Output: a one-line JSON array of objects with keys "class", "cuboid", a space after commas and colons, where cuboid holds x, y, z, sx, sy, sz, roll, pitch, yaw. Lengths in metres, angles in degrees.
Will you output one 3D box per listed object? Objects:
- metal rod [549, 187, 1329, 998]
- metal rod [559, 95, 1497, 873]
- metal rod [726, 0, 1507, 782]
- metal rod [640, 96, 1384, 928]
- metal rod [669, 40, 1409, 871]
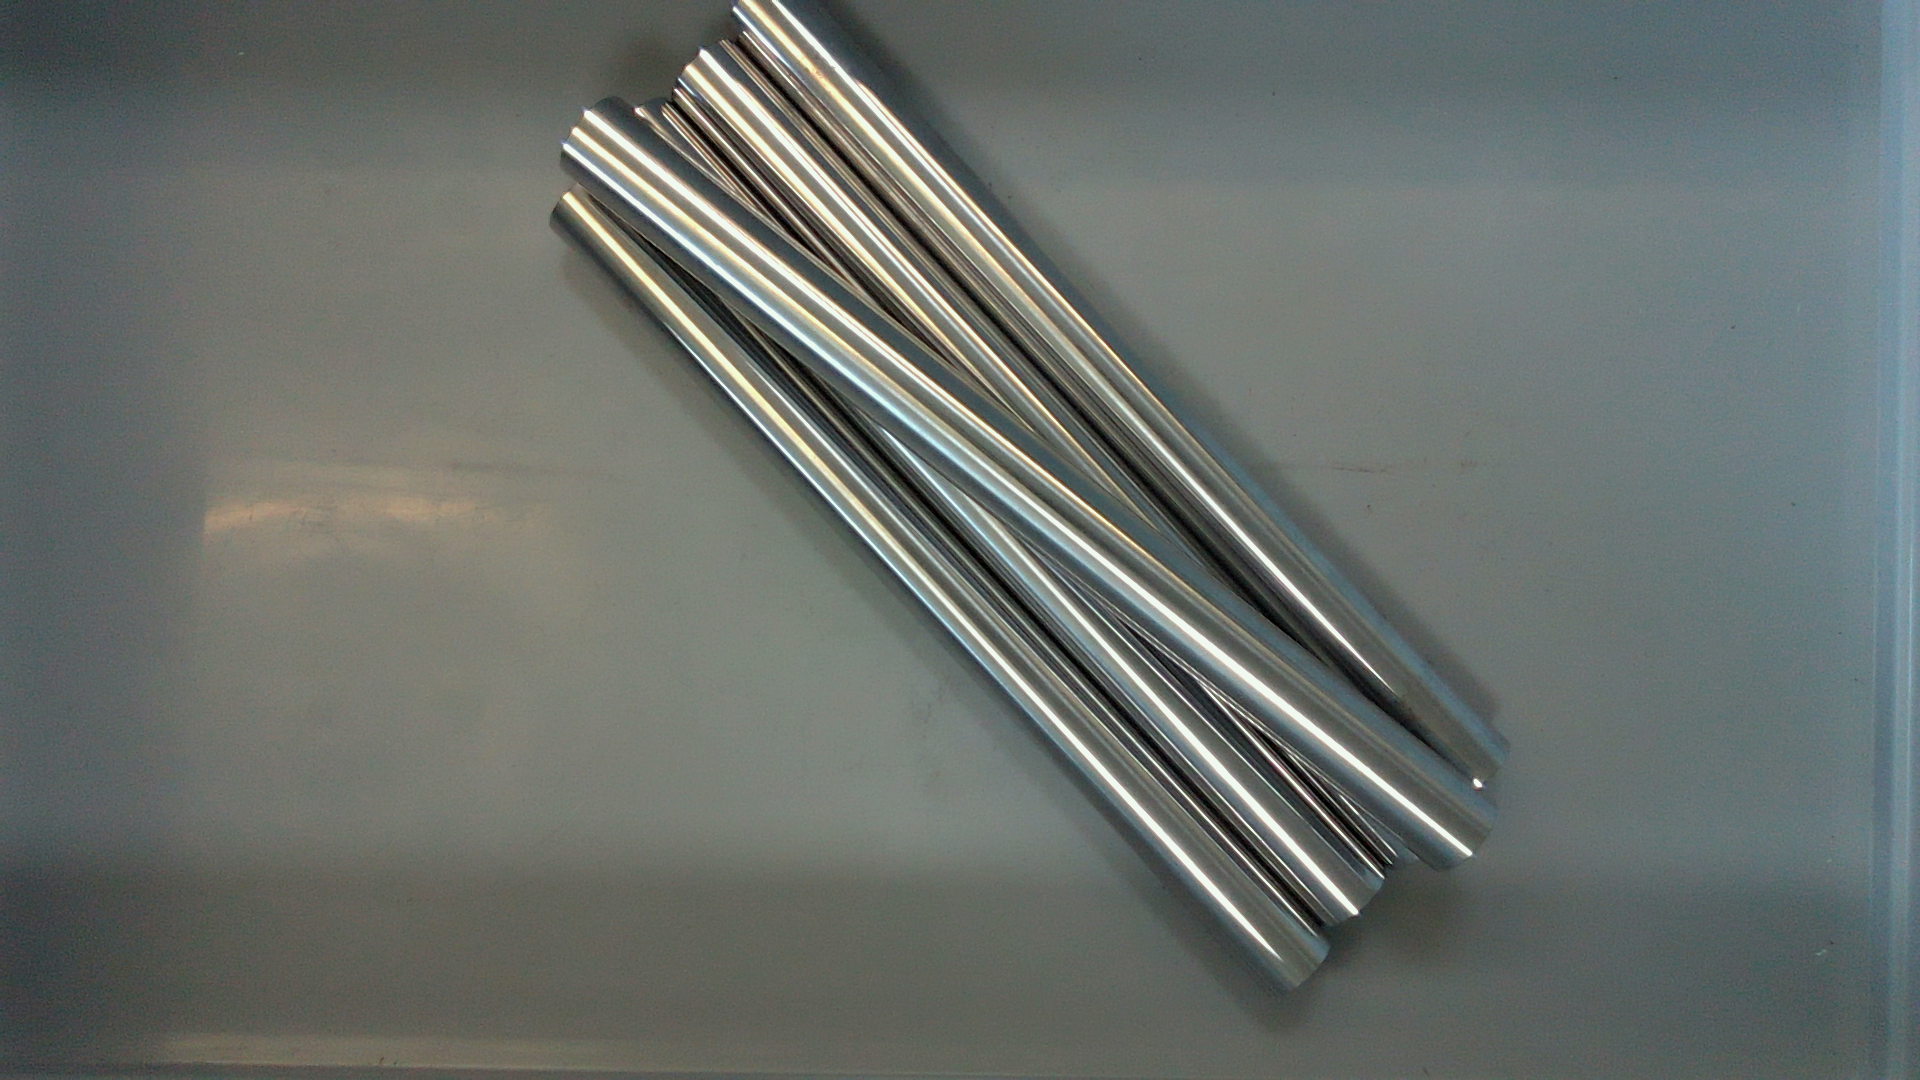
[{"class": "metal rod", "cuboid": [-0.006, 0.012, 0.394, 0.025, 0.025, 0.300, -43, 90, 0]}, {"class": "metal rod", "cuboid": [0.018, -0.015, 0.369, 0.300, 0.025, 0.025, 39, 90, 0]}, {"class": "metal rod", "cuboid": [0.045, -0.044, 0.394, 0.025, 0.025, 0.300, -43, 90, 0]}, {"class": "metal rod", "cuboid": [0.010, -0.008, 0.394, 0.025, 0.025, 0.300, -43, 90, 0]}, {"class": "metal rod", "cuboid": [0.029, -0.024, 0.394, 0.025, 0.025, 0.300, -43, 90, 0]}]
